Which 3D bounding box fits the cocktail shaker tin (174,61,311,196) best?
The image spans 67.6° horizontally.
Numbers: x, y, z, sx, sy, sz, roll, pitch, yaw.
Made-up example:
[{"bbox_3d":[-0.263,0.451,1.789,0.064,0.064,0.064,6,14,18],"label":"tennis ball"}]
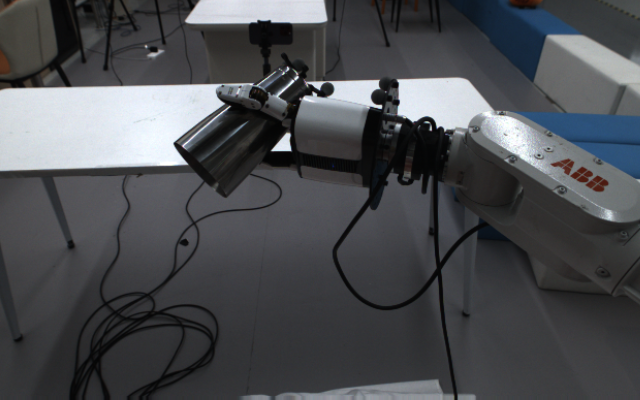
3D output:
[{"bbox_3d":[-0.089,-0.098,0.617,0.170,0.093,0.093,-43,50,-14],"label":"cocktail shaker tin"}]
